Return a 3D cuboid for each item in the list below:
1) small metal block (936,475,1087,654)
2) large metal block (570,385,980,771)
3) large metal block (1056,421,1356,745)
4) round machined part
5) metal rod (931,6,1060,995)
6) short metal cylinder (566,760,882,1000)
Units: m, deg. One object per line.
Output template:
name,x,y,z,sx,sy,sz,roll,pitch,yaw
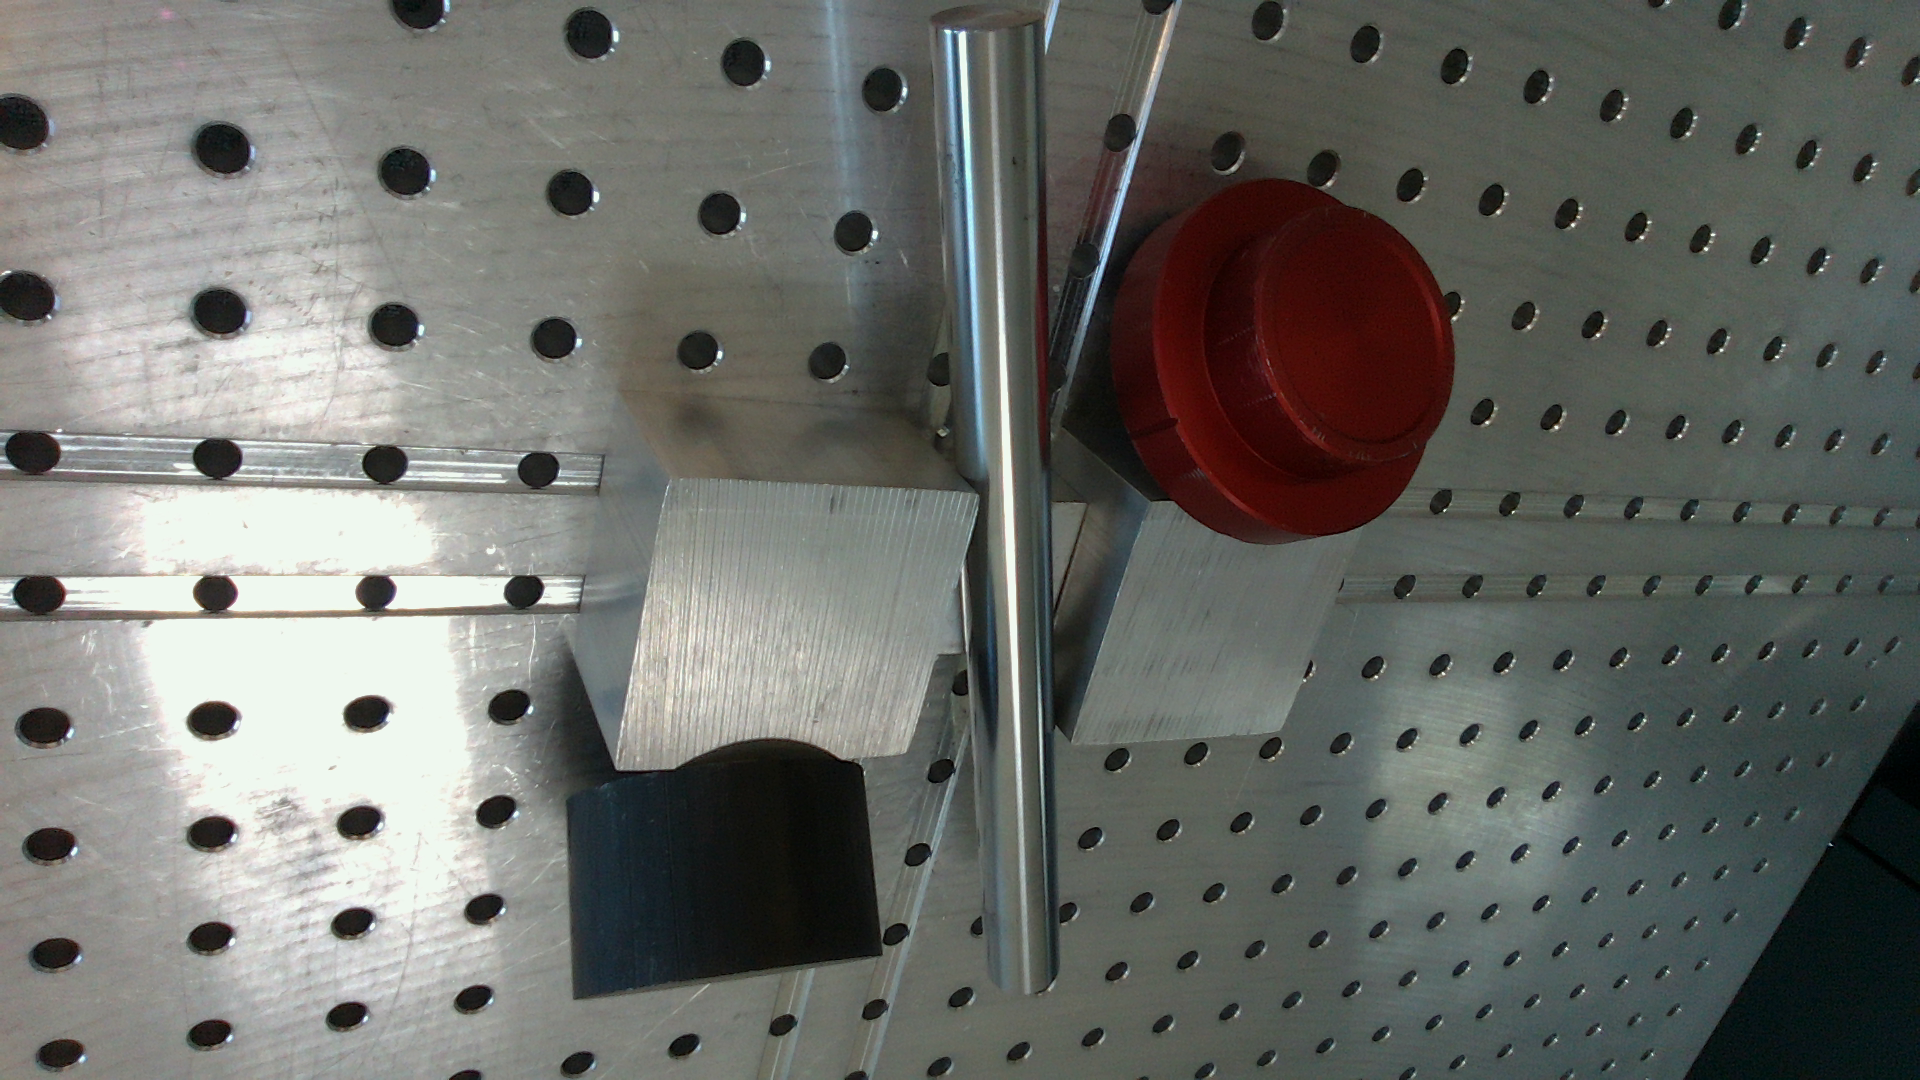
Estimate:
small metal block,0.003,0.005,0.397,0.050,0.025,0.050,1,118,-29
large metal block,-0.050,0.010,0.356,0.080,0.050,0.080,2,117,-29
large metal block,0.065,0.013,0.420,0.080,0.050,0.080,1,118,-29
round machined part,0.093,-0.050,0.369,0.098,0.042,0.098,4,82,-28
metal rod,0.014,0.015,0.375,0.025,0.025,0.300,-16,125,-19
short metal cylinder,-0.063,0.092,0.370,0.080,0.050,0.080,-8,163,-2
